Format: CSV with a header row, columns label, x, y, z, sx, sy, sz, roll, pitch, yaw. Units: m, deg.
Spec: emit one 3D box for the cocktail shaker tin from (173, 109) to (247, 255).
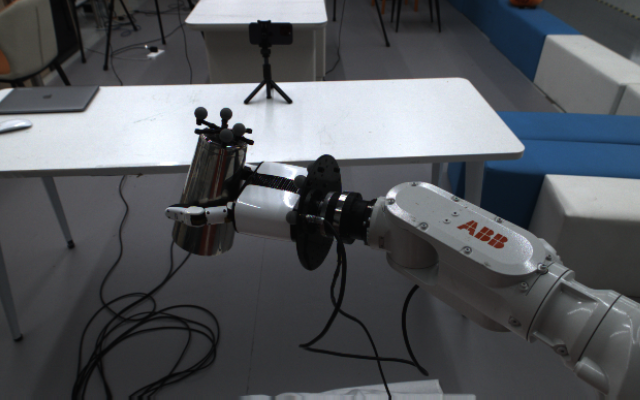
label,x,y,z,sx,sy,sz,roll,pitch,yaw
cocktail shaker tin,-0.154,-0.018,0.699,0.093,0.170,0.093,15,27,-8
